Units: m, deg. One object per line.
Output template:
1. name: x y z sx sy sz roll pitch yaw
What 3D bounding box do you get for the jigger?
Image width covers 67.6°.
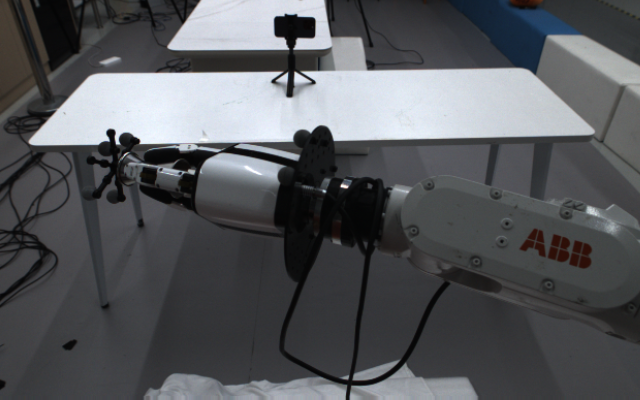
1. jigger: -0.181 -0.032 0.538 0.071 0.043 0.043 10 35 16
